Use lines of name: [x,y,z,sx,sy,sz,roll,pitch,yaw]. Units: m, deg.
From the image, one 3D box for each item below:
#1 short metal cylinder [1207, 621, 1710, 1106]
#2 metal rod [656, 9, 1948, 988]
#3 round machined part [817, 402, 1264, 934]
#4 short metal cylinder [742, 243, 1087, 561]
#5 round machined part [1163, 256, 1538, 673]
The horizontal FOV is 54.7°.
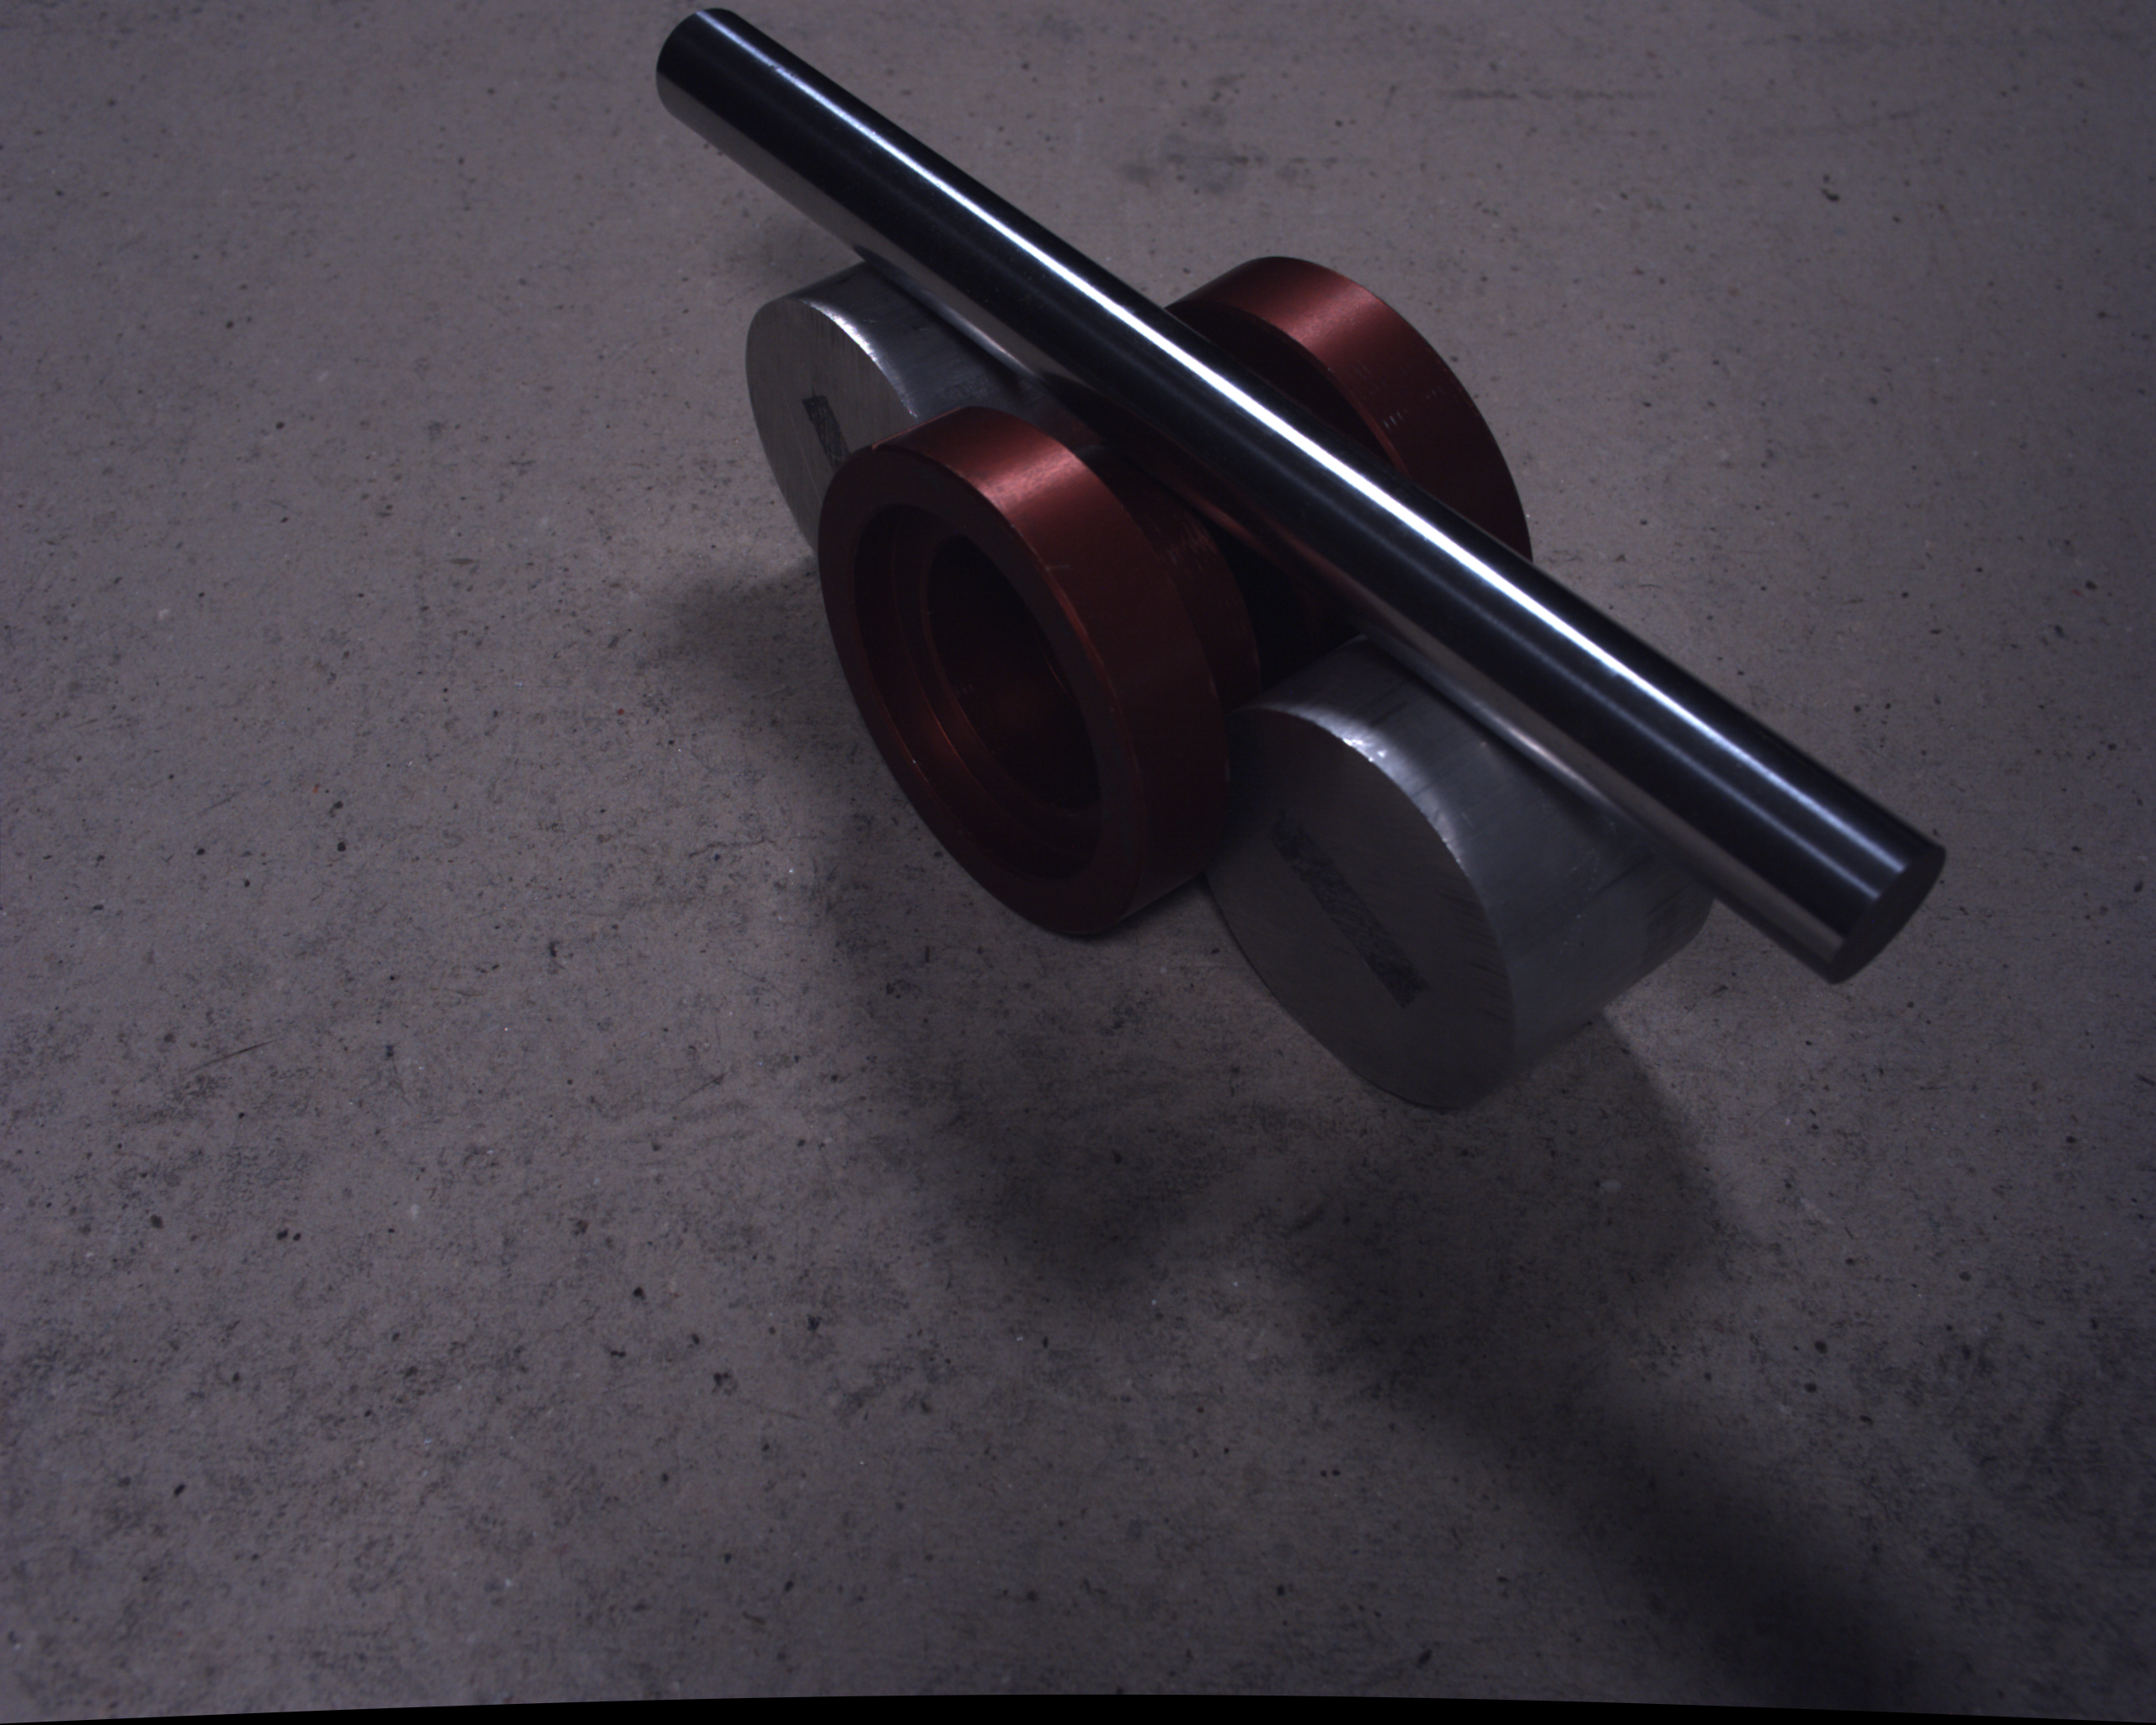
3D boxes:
short metal cylinder: [0.065,-0.004,0.373,0.050,0.080,0.080,-32,57,-24]
metal rod: [0.018,-0.080,0.369,0.025,0.025,0.300,-33,58,-25]
round machined part: [-0.003,-0.039,0.389,0.042,0.097,0.098,-30,56,-28]
short metal cylinder: [-0.028,-0.092,0.445,0.050,0.080,0.080,-32,57,-24]
round machined part: [0.040,-0.066,0.413,0.042,0.098,0.098,-35,58,-20]
